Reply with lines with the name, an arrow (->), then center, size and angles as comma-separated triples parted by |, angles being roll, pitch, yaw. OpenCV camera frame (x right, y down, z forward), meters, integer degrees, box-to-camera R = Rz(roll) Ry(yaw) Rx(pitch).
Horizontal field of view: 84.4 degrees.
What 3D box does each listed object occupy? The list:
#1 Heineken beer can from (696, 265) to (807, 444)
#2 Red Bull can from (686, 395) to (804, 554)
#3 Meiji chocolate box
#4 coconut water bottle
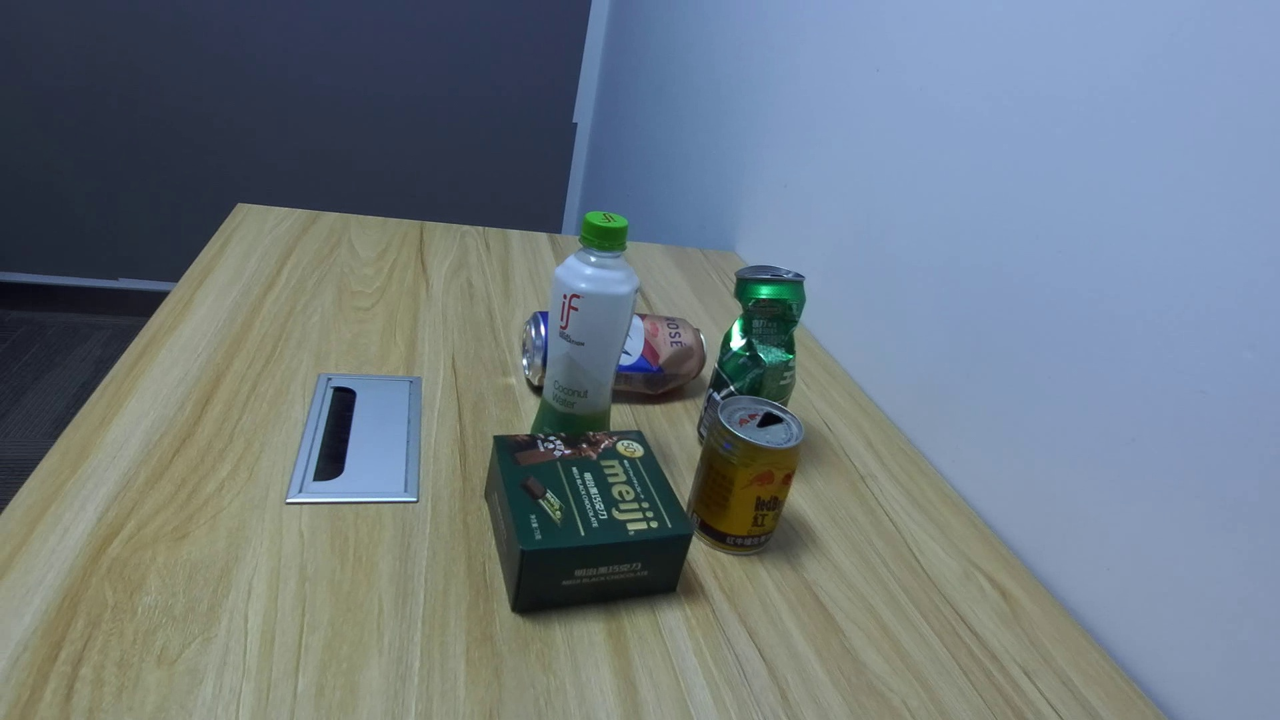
Heineken beer can -> 0.095, 0.005, 0.573 | 0.067, 0.159, 0.078 | -7, 25, -43
Red Bull can -> 0.073, 0.079, 0.494 | 0.069, 0.092, 0.069 | 9, 29, -5
Meiji chocolate box -> -0.037, 0.098, 0.458 | 0.109, 0.056, 0.109 | 0, 31, -21
coconut water bottle -> -0.039, -0.012, 0.515 | 0.063, 0.188, 0.063 | 9, 27, -4
